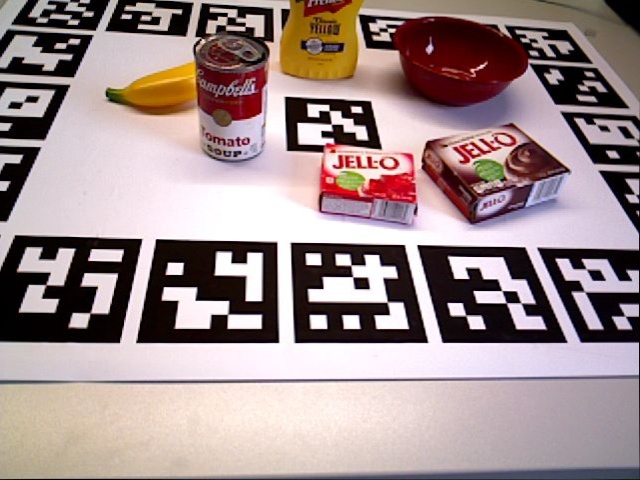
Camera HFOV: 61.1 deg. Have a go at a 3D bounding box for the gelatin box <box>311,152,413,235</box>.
[{"bbox_3d":[0.039,-0.045,0.500,0.089,0.031,0.072,6,50,-1],"label":"gelatin box"}]

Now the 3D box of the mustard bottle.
[{"bbox_3d":[0.007,-0.278,0.587,0.095,0.196,0.057,2,44,-7],"label":"mustard bottle"}]

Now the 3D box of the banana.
[{"bbox_3d":[-0.145,-0.192,0.609,0.074,0.039,0.193,26,48,30],"label":"banana"}]

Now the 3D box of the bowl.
[{"bbox_3d":[0.167,-0.203,0.653,0.161,0.056,0.159,2,46,-3],"label":"bowl"}]

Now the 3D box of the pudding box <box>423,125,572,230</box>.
[{"bbox_3d":[0.172,-0.064,0.529,0.112,0.039,0.089,-17,57,-22],"label":"pudding box"}]

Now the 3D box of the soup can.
[{"bbox_3d":[-0.092,-0.139,0.508,0.067,0.104,0.067,5,44,-6],"label":"soup can"}]
